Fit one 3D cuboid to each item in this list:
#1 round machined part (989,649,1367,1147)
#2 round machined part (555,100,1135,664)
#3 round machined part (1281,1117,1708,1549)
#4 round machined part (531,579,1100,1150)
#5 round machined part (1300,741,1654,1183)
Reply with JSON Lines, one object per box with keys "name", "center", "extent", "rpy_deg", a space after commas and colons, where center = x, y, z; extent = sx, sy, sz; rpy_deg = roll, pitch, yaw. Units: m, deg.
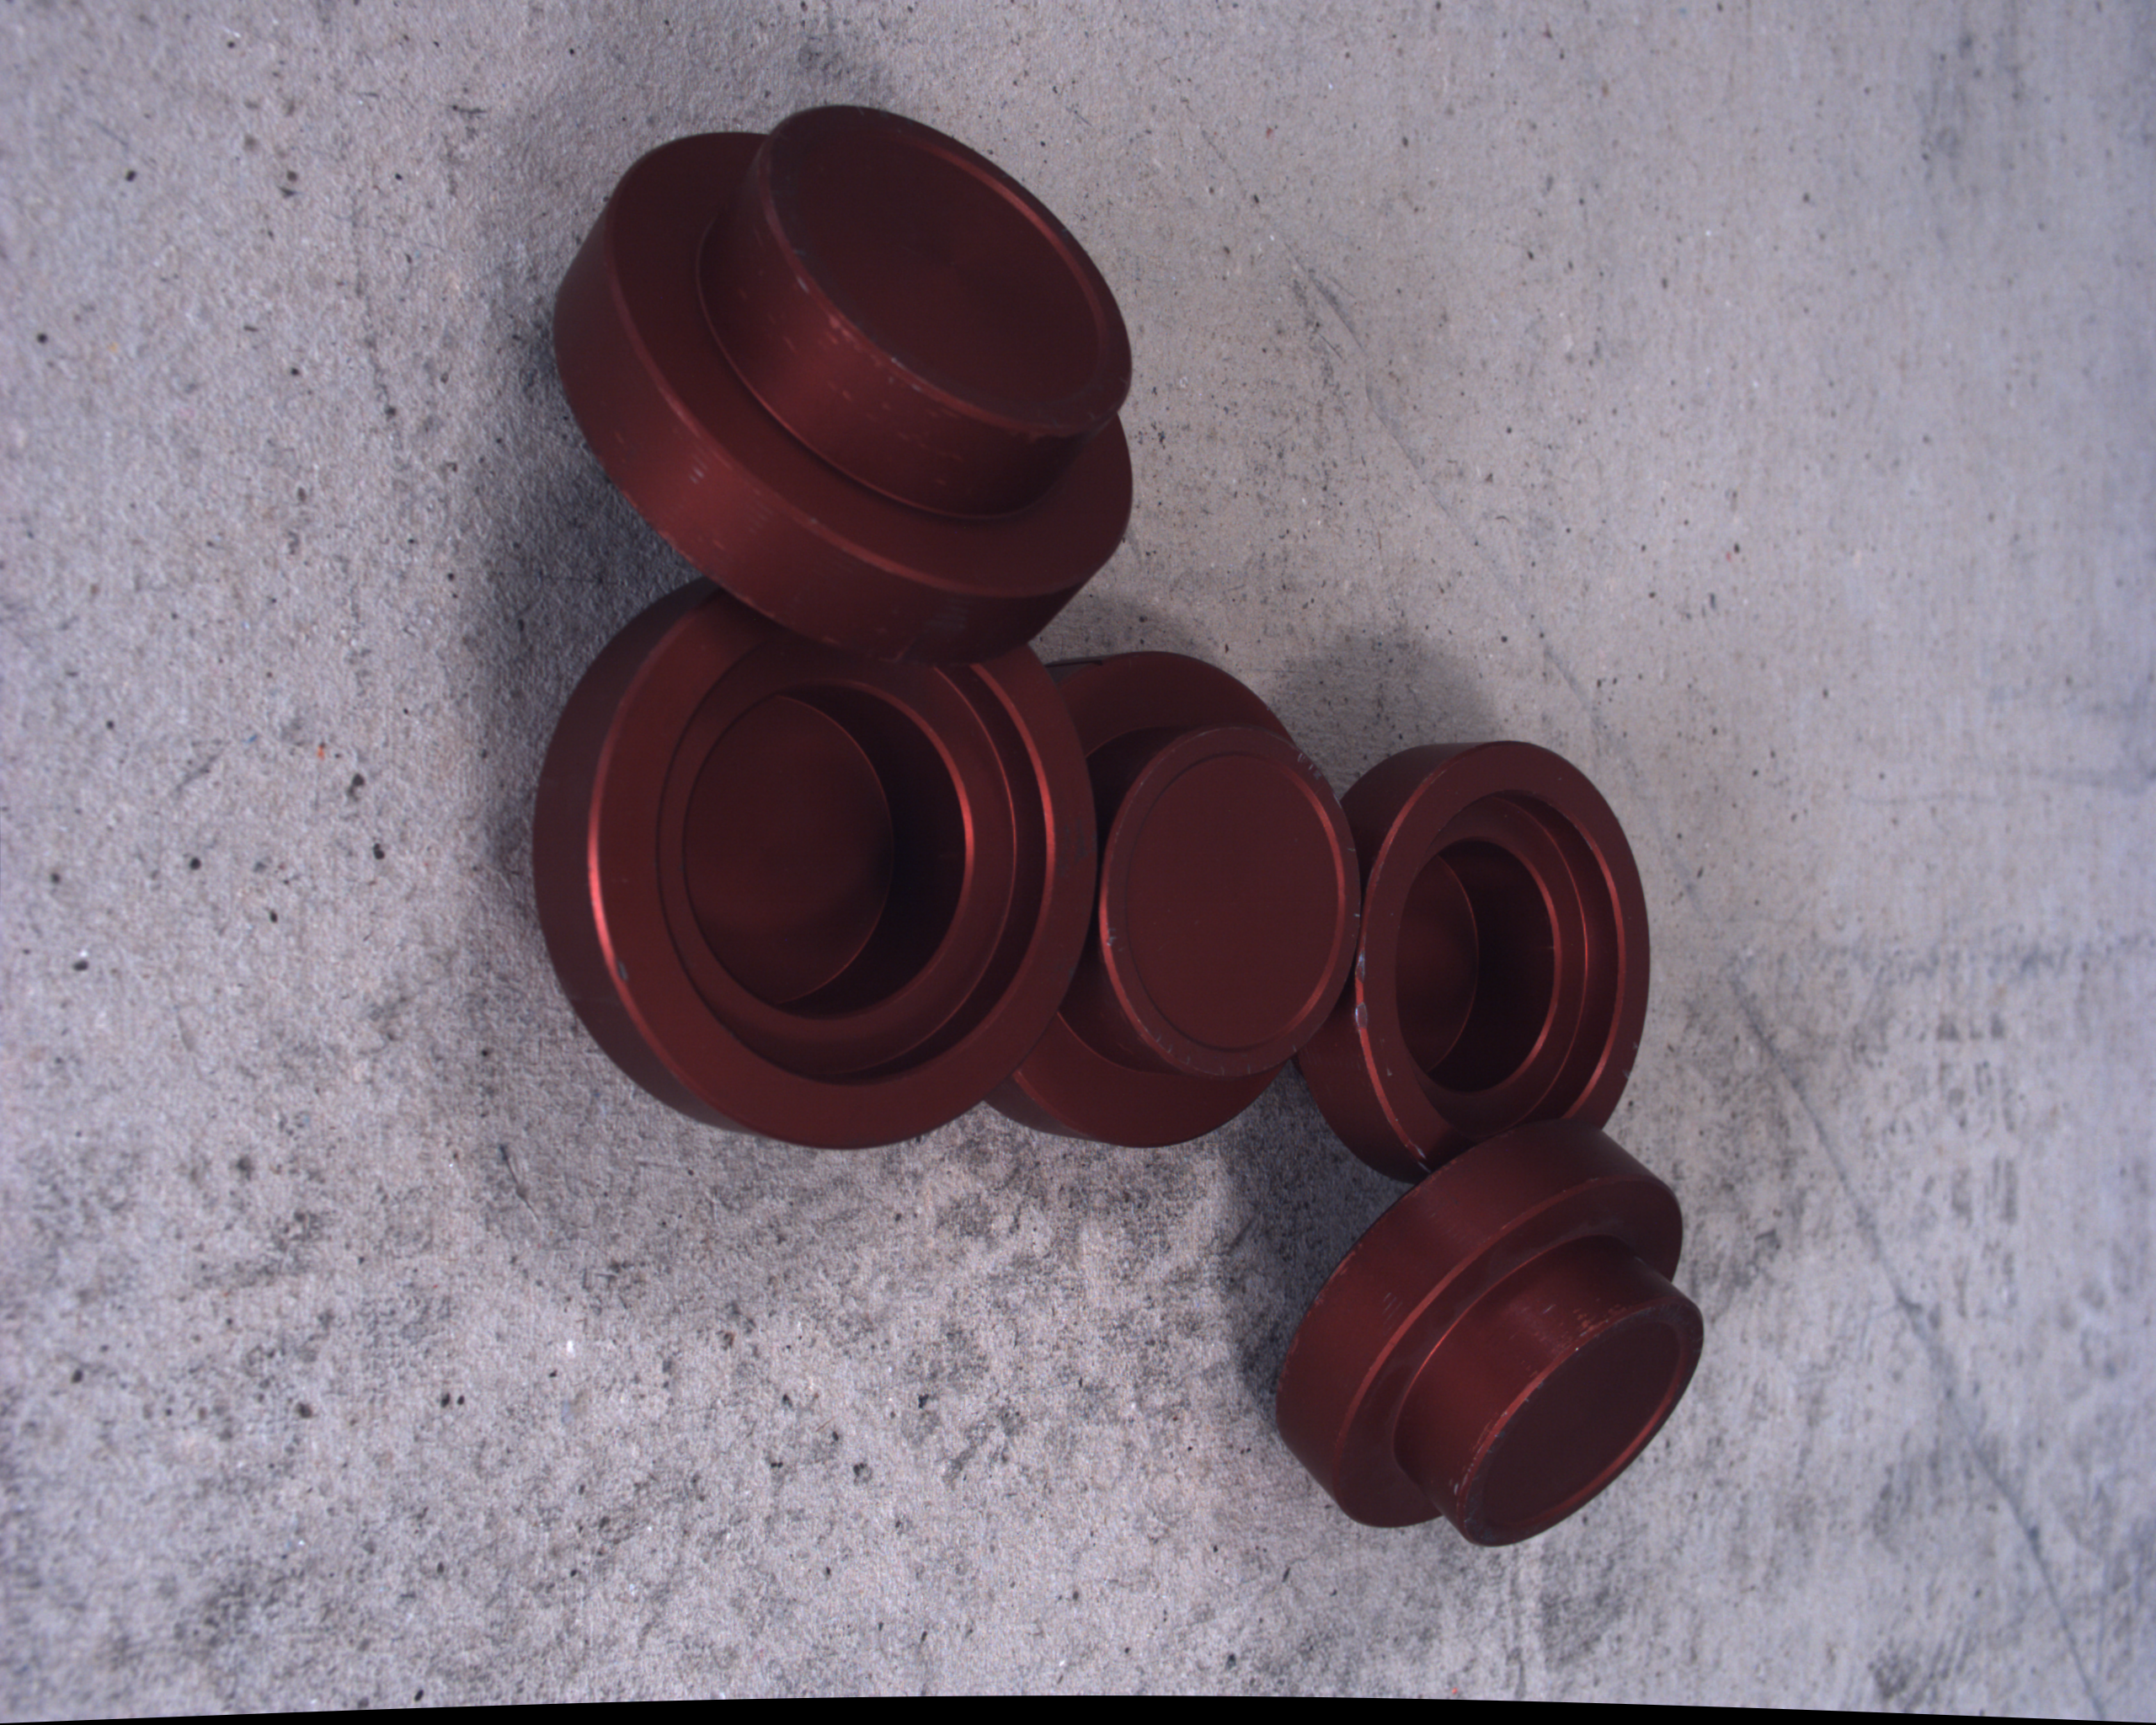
{"name": "round machined part", "center": [0.018, 0.007, 0.408], "extent": [0.099, 0.042, 0.097], "rpy_deg": [2, 87, -39]}
{"name": "round machined part", "center": [-0.030, -0.084, 0.340], "extent": [0.099, 0.042, 0.098], "rpy_deg": [23, 46, -26]}
{"name": "round machined part", "center": [0.095, 0.106, 0.445], "extent": [0.099, 0.042, 0.097], "rpy_deg": [-22, 131, -27]}
{"name": "round machined part", "center": [-0.047, -0.002, 0.355], "extent": [0.099, 0.042, 0.097], "rpy_deg": [-1, 91, -39]}
{"name": "round machined part", "center": [0.081, 0.023, 0.462], "extent": [0.099, 0.042, 0.097], "rpy_deg": [-1, 91, -39]}
